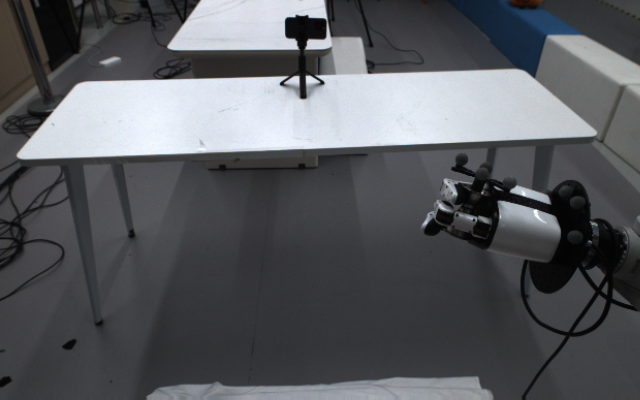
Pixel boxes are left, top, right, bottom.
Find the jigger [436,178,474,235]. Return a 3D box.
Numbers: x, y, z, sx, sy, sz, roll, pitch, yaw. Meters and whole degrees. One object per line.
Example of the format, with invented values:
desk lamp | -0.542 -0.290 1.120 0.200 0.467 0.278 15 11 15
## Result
jigger | 0.202 0.016 0.666 0.043 0.071 0.043 18 17 -6
